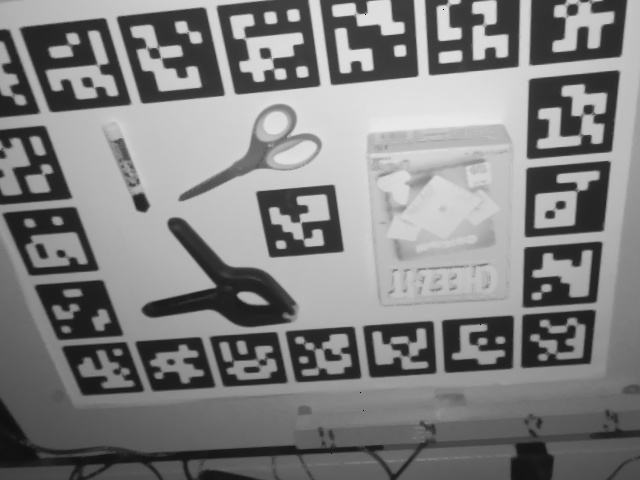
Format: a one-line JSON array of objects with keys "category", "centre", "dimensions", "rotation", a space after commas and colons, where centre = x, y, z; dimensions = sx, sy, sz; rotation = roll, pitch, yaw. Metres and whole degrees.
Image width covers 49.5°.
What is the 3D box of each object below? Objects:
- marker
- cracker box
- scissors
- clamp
[{"category": "marker", "centre": [-0.235, -0.101, 0.836], "dimensions": [0.019, 0.020, 0.120], "rotation": [-8, 121, 8]}, {"category": "cracker box", "centre": [0.146, -0.045, 0.824], "dimensions": [0.164, 0.072, 0.212], "rotation": [-4, 120, 5]}, {"category": "scissors", "centre": [-0.093, -0.109, 0.826], "dimensions": [0.200, 0.016, 0.088], "rotation": [-30, 116, 21]}, {"category": "clamp", "centre": [-0.118, 0.052, 0.929], "dimensions": [0.204, 0.037, 0.163], "rotation": [22, 121, -9]}]
